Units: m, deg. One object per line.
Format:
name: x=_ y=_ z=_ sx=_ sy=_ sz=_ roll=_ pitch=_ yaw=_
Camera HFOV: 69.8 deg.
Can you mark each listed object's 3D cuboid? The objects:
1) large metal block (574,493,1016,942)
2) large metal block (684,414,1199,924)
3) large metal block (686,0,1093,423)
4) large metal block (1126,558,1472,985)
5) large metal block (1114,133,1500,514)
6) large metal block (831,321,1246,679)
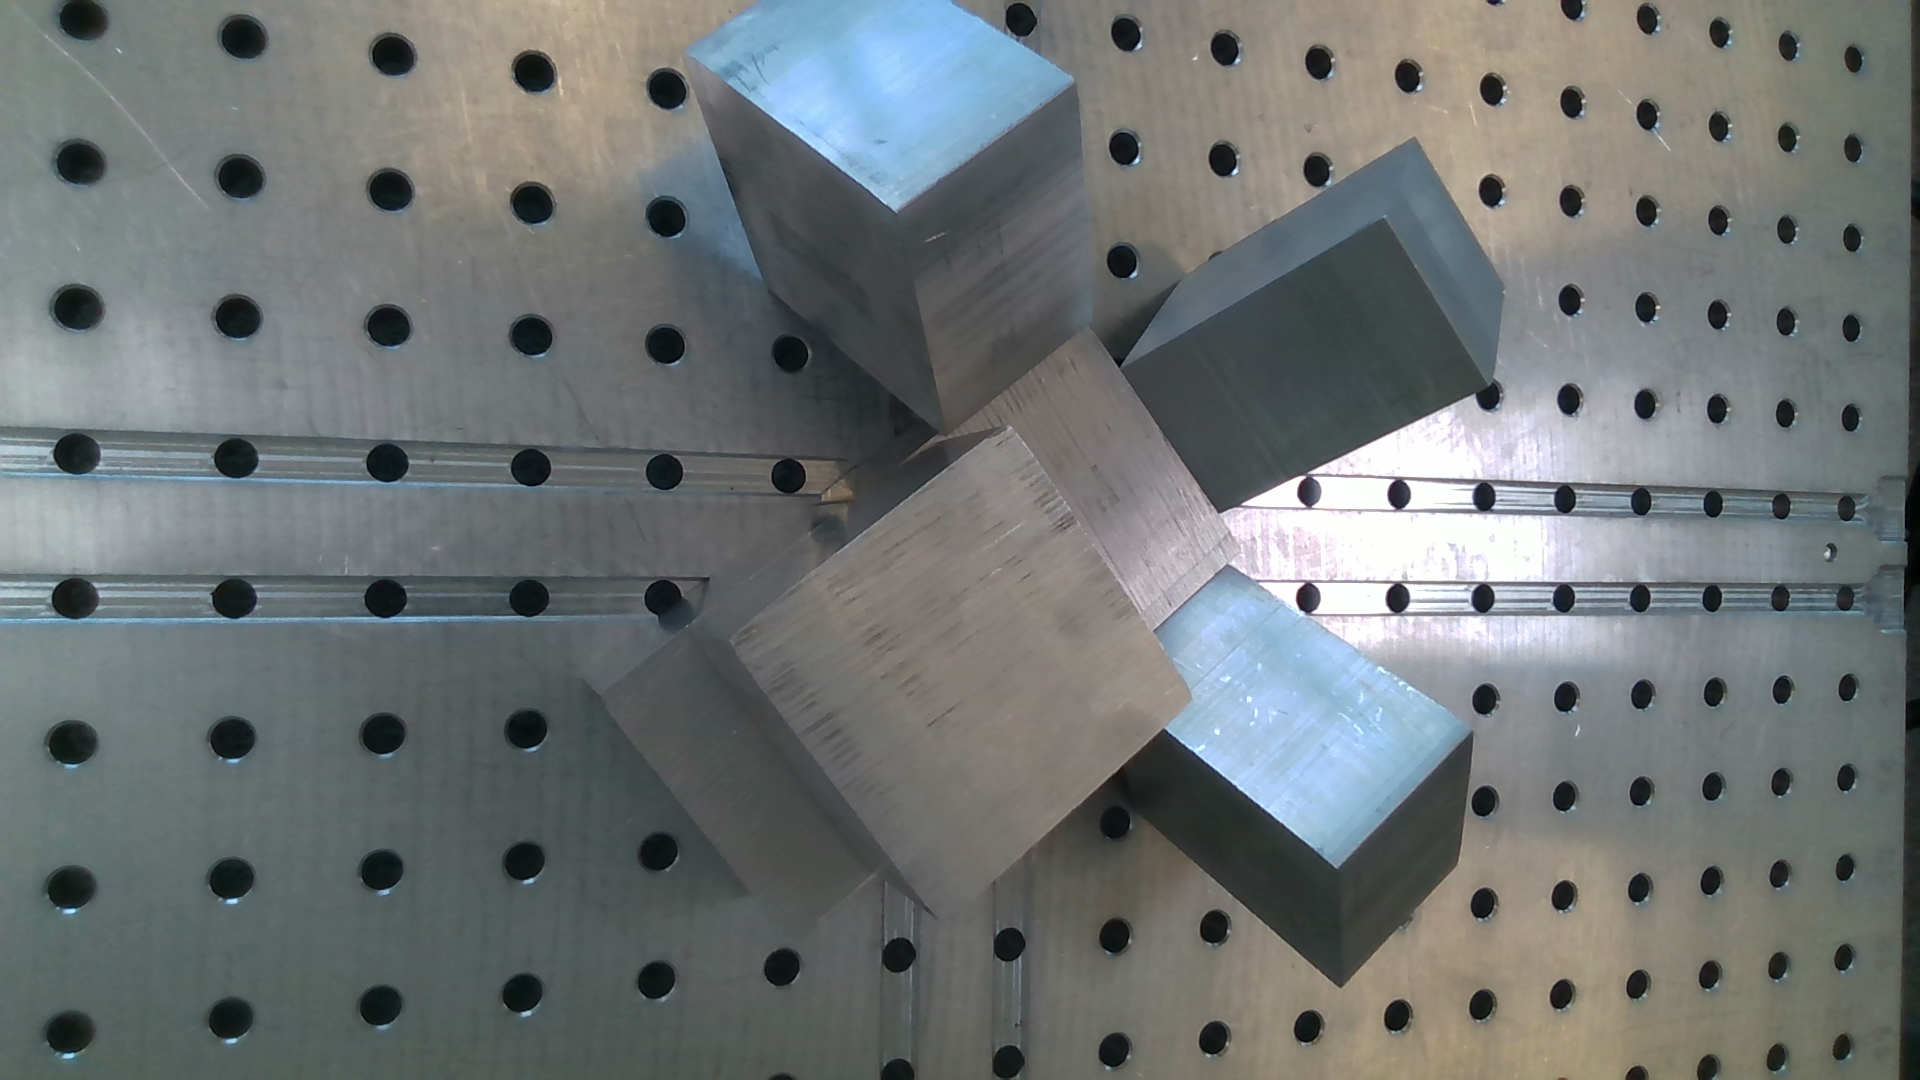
large metal block: x=-0.042 y=0.044 z=0.367 sx=0.080 sy=0.050 sz=0.080 roll=-39 pitch=103 yaw=-17
large metal block: x=-0.005 y=0.028 z=0.327 sx=0.080 sy=0.050 sz=0.080 roll=-39 pitch=104 yaw=-15
large metal block: x=-0.014 y=-0.089 z=0.345 sx=0.050 sy=0.080 sz=0.080 roll=-40 pitch=61 yaw=-17
large metal block: x=0.090 y=0.065 z=0.384 sx=0.050 sy=0.080 sz=0.080 roll=-40 pitch=143 yaw=-16
large metal block: x=0.100 y=-0.062 z=0.387 sx=0.050 sy=0.080 sz=0.080 roll=54 pitch=35 yaw=-12
large metal block: x=0.019 y=-0.005 z=0.390 sx=0.080 sy=0.050 sz=0.080 roll=-40 pitch=103 yaw=-16
